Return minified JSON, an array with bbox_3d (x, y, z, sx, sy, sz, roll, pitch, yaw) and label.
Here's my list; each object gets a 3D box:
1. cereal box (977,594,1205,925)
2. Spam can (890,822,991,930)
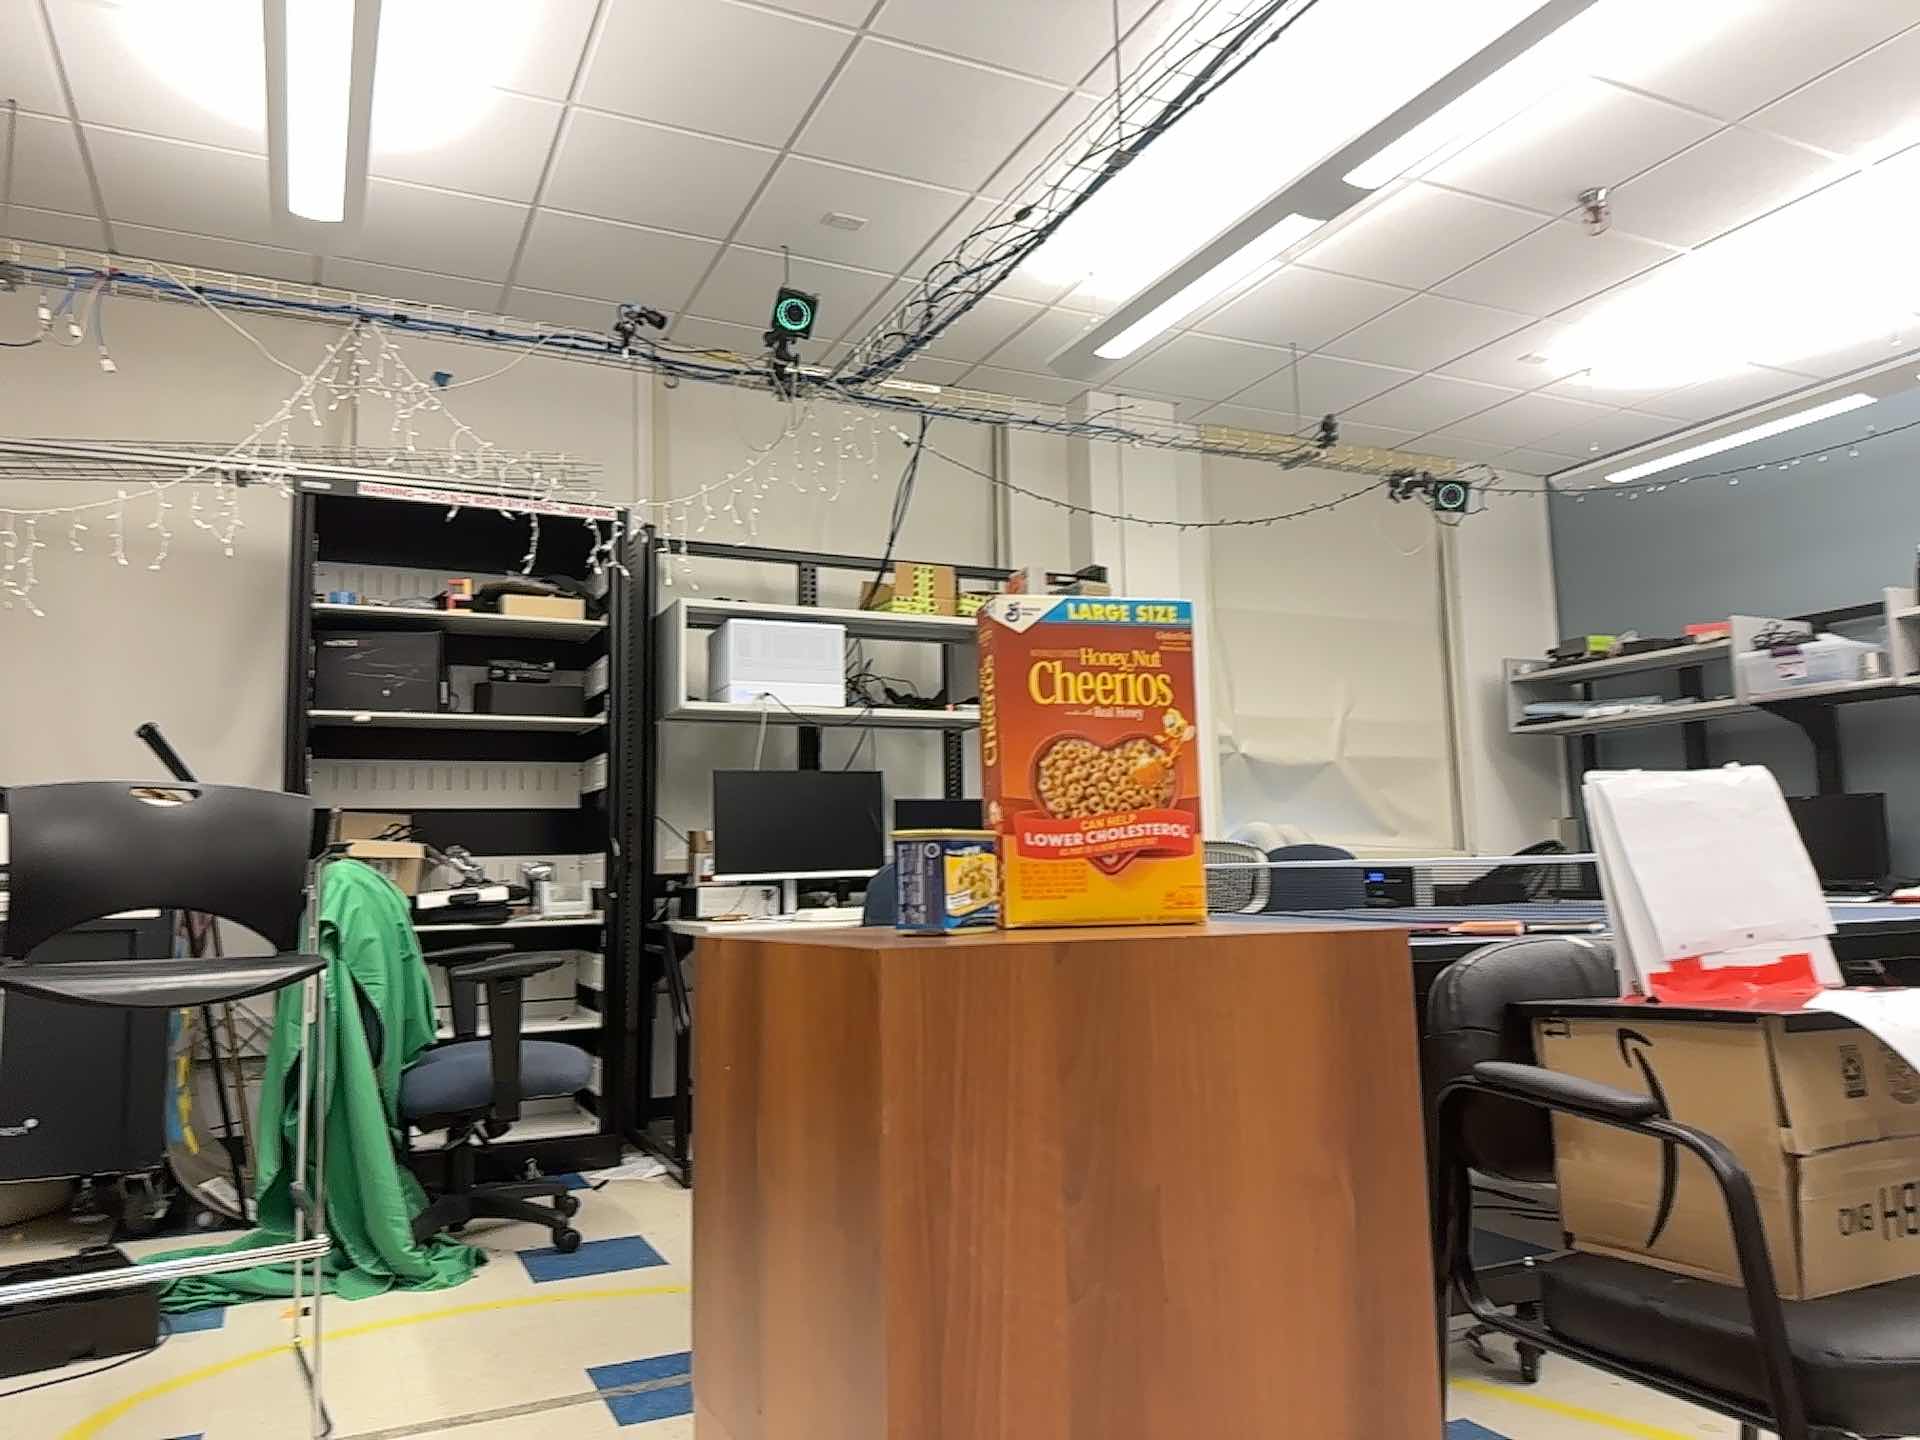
[{"bbox_3d":[0.121,0.038,1.270,0.195,0.297,0.065,3,-9,-17],"label":"cereal box"},{"bbox_3d":[-0.015,0.130,1.115,0.056,0.083,0.100,-5,-9,26],"label":"Spam can"}]
